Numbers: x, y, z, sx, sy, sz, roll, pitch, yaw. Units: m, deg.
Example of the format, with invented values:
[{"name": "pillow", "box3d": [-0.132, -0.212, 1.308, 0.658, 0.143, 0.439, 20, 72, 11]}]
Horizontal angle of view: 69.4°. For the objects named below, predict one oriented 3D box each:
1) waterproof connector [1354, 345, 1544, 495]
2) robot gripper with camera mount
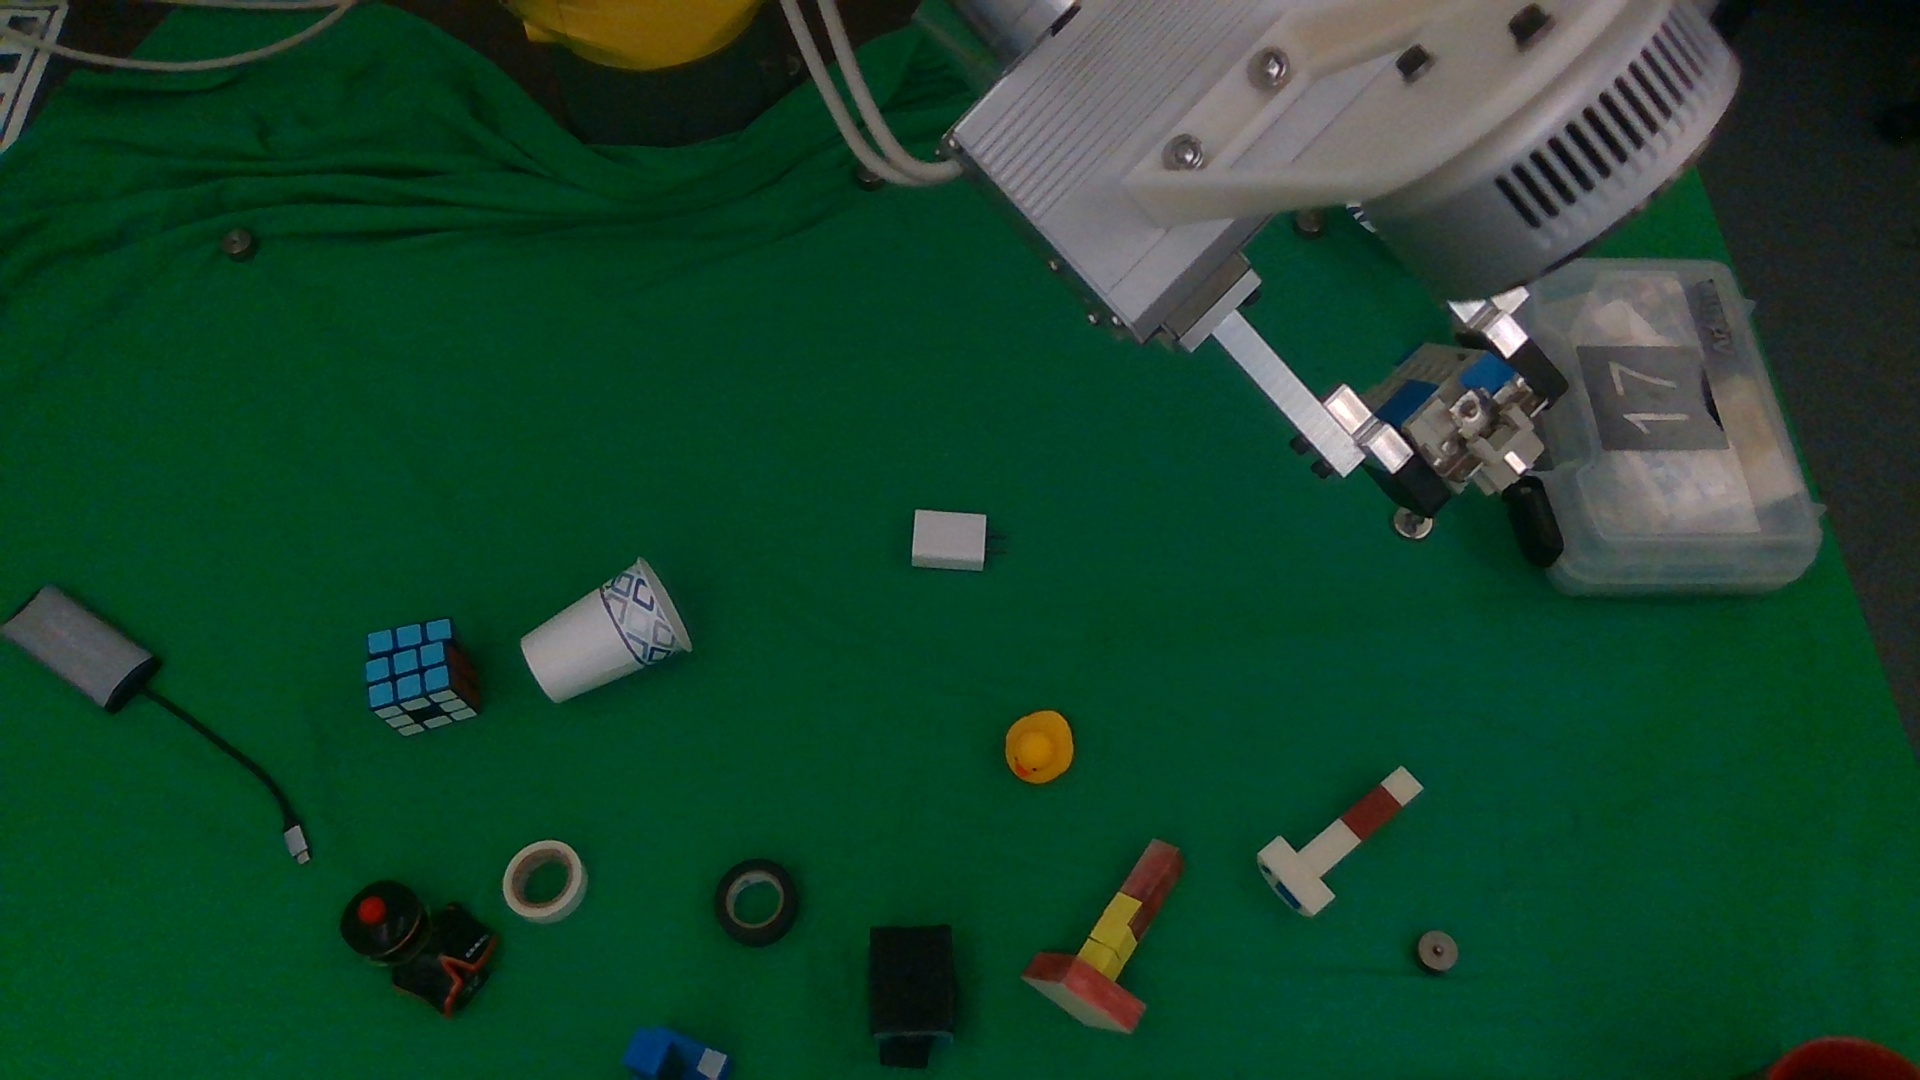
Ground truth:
[{"name": "waterproof connector", "box3d": [0.147, -0.035, 0.416, 0.037, 0.065, 0.035, 42, 93, -12]}, {"name": "robot gripper with camera mount", "box3d": [0.116, -0.074, 0.318, 0.119, 0.193, 0.158, -43, 103, -3]}]
